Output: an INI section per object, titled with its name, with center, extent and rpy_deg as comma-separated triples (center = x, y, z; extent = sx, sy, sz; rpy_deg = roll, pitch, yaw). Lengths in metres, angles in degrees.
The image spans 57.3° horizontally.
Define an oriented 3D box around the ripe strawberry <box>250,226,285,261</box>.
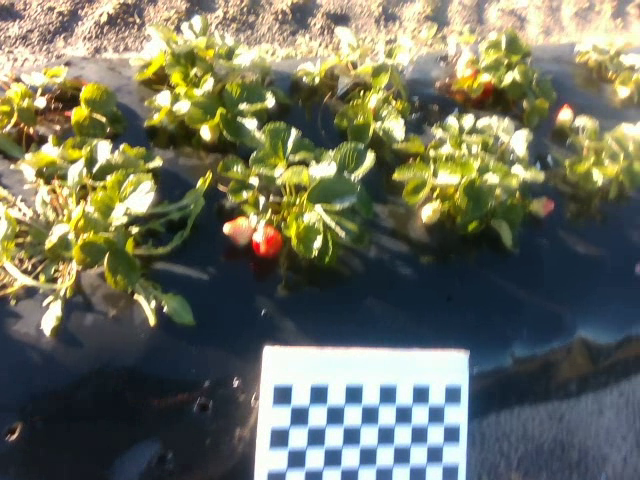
[ripe strawberry]
center = -0.063, 0.003, 0.683
extent = 0.040, 0.038, 0.056
rpy_deg = -14, 6, 9
